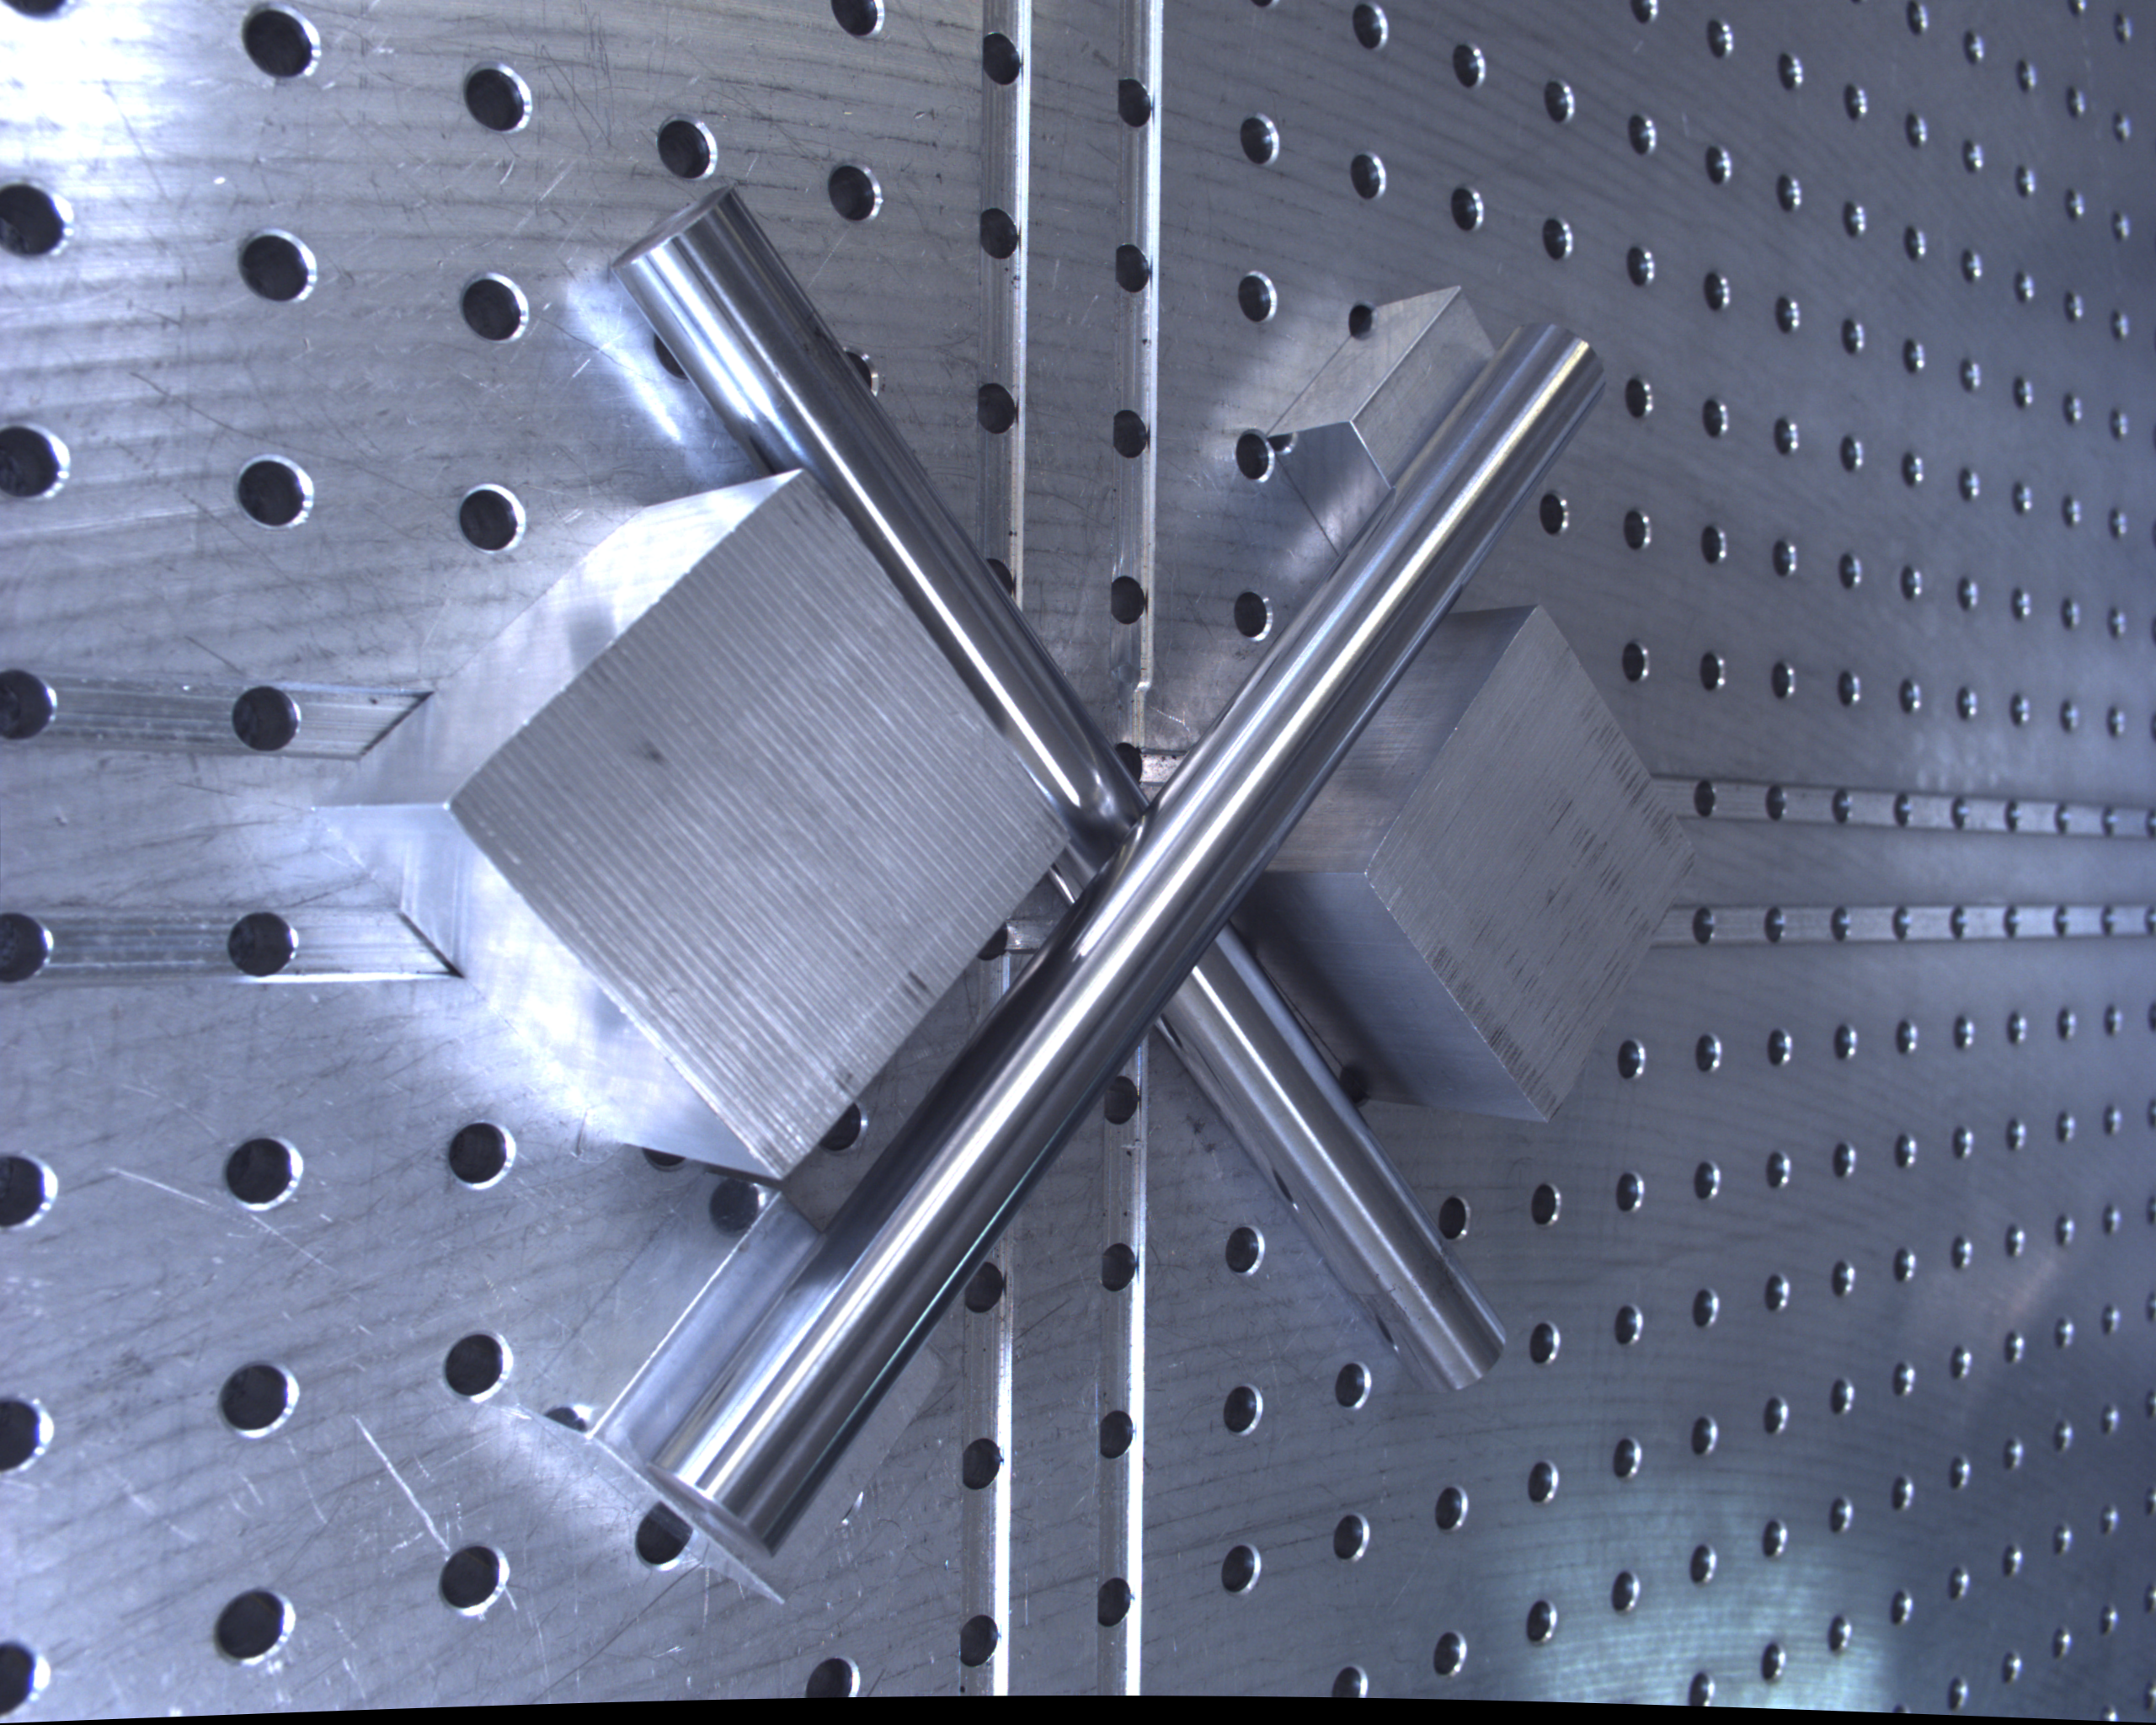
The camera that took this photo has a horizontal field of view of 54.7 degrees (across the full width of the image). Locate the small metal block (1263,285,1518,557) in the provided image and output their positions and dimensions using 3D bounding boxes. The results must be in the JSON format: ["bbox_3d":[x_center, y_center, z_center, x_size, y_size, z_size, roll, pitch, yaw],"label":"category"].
[{"bbox_3d":[0.076,-0.093,0.473,0.050,0.025,0.050,-52,120,-27],"label":"small metal block"}]

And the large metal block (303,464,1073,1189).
[{"bbox_3d":[-0.061,-0.006,0.342,0.080,0.050,0.080,-51,120,-28],"label":"large metal block"}]

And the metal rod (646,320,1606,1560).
[{"bbox_3d":[0.024,-0.004,0.396,0.301,0.025,0.025,-52,121,-27],"label":"metal rod"}]

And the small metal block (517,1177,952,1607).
[{"bbox_3d":[-0.058,0.090,0.361,0.050,0.025,0.050,52,60,-27],"label":"small metal block"}]

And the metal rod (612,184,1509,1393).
[{"bbox_3d":[0.010,0.003,0.416,0.025,0.025,0.299,-50,120,-28],"label":"metal rod"}]

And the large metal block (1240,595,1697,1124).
[{"bbox_3d":[0.083,-0.001,0.462,0.080,0.050,0.080,51,60,-28],"label":"large metal block"}]
